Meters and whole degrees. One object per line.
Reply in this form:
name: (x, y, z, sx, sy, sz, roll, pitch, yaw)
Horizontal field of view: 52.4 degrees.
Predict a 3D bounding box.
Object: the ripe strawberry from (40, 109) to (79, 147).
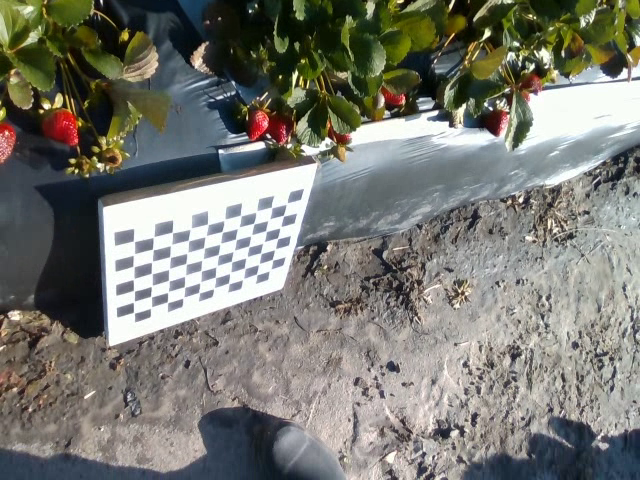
ripe strawberry: (-0.286, -0.121, 0.703, 0.042, 0.049, 0.039, -38, -3, 9)
